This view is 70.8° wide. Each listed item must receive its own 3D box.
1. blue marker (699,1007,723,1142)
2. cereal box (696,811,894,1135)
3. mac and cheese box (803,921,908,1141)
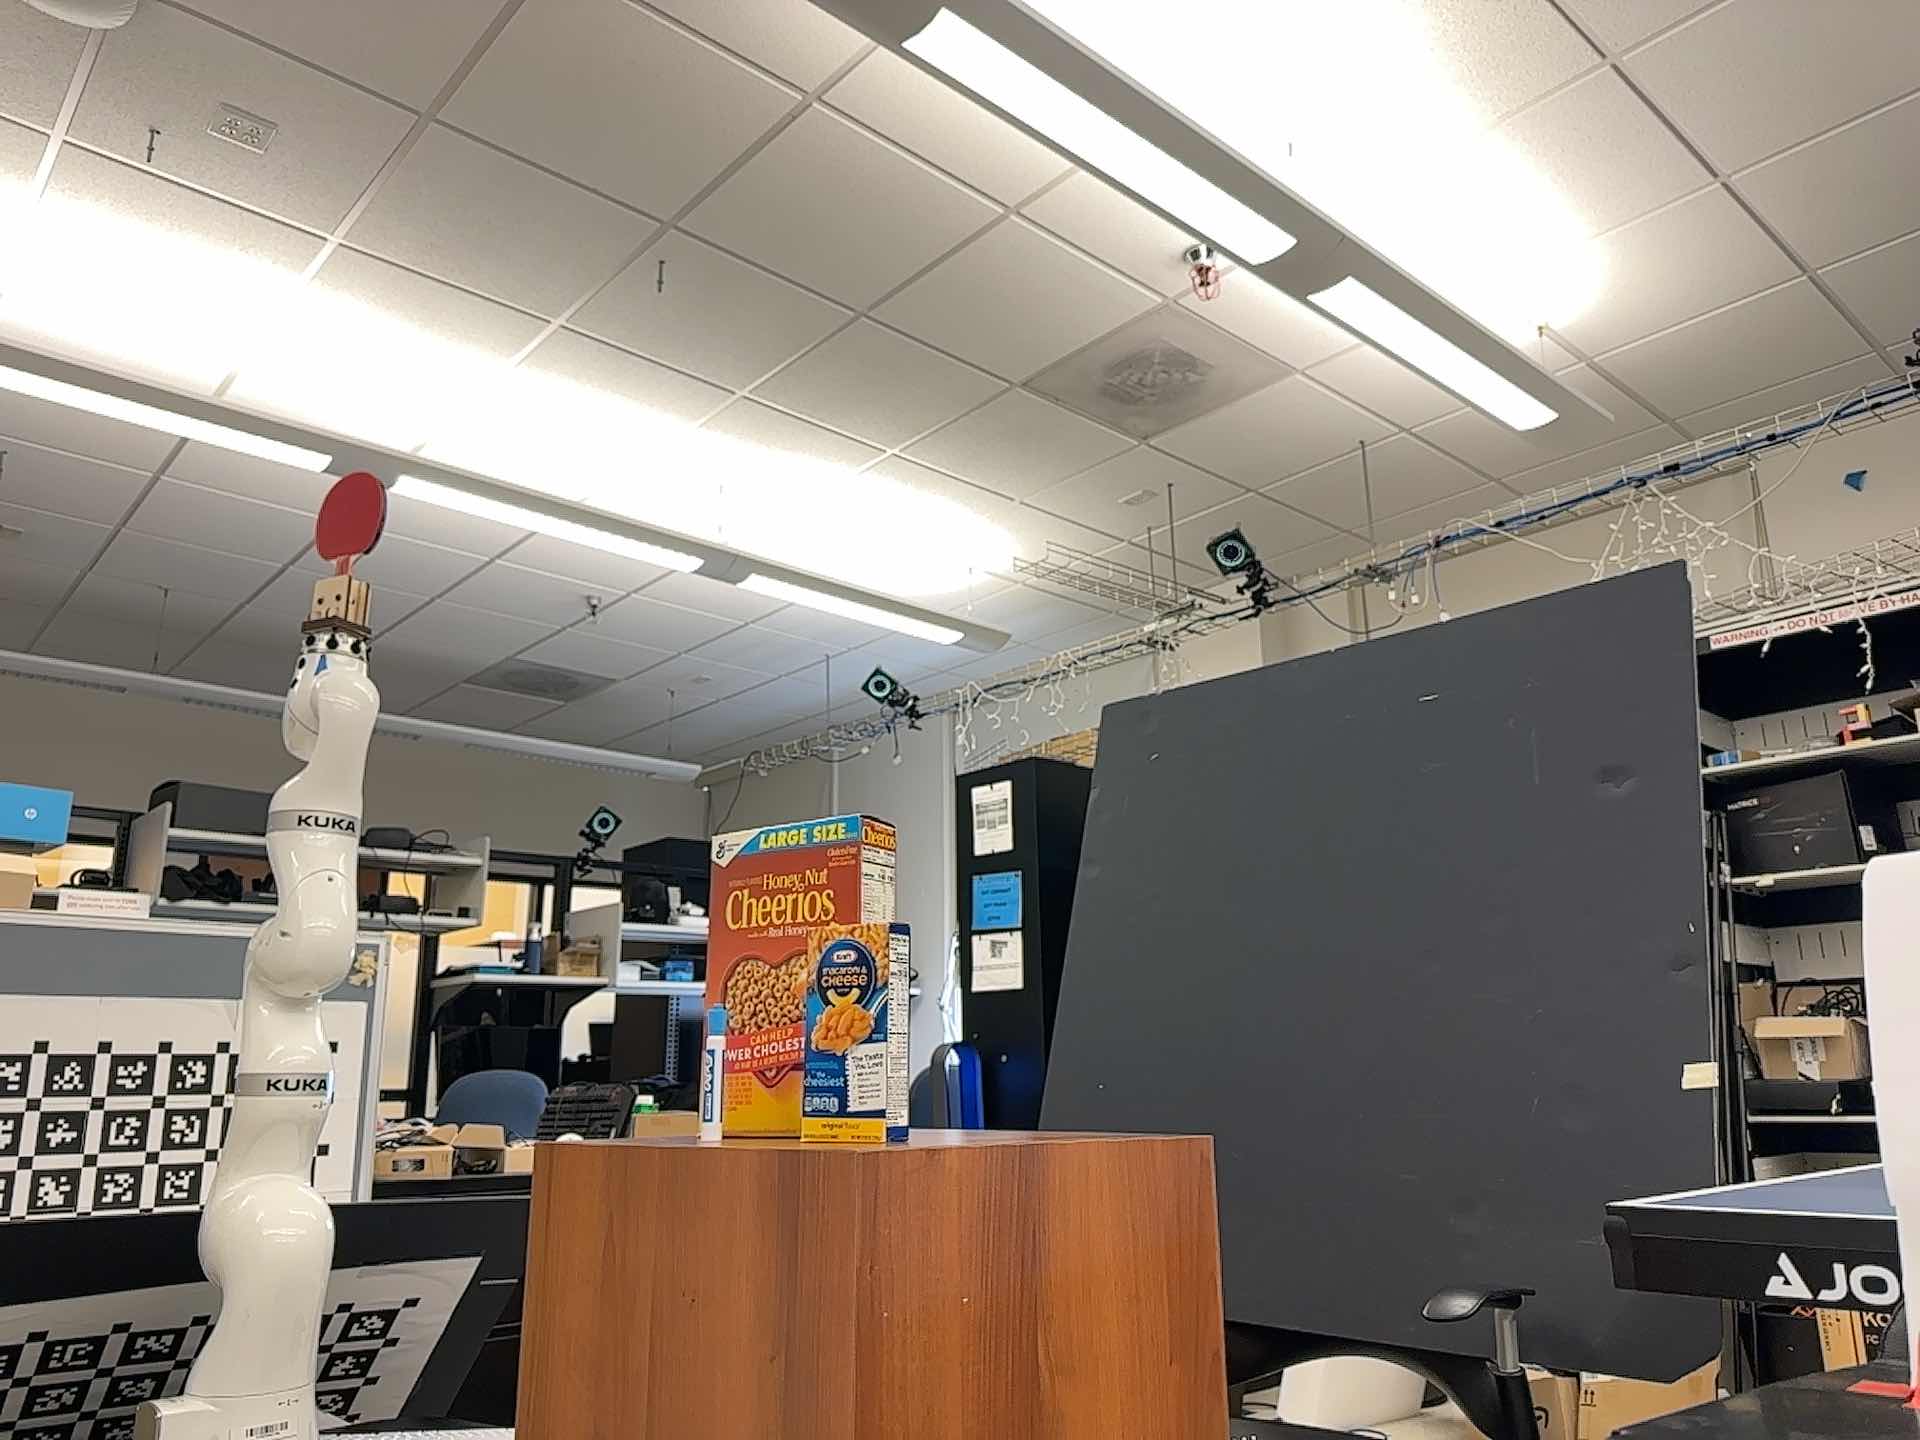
[{"bbox_3d":[-0.232,0.329,1.258,0.020,0.121,0.020,-2,-14,0],"label":"blue marker"},{"bbox_3d":[-0.166,0.256,1.354,0.195,0.297,0.065,-11,-18,34],"label":"cereal box"},{"bbox_3d":[-0.091,0.272,1.181,0.088,0.181,0.035,-14,-20,40],"label":"mac and cheese box"}]
